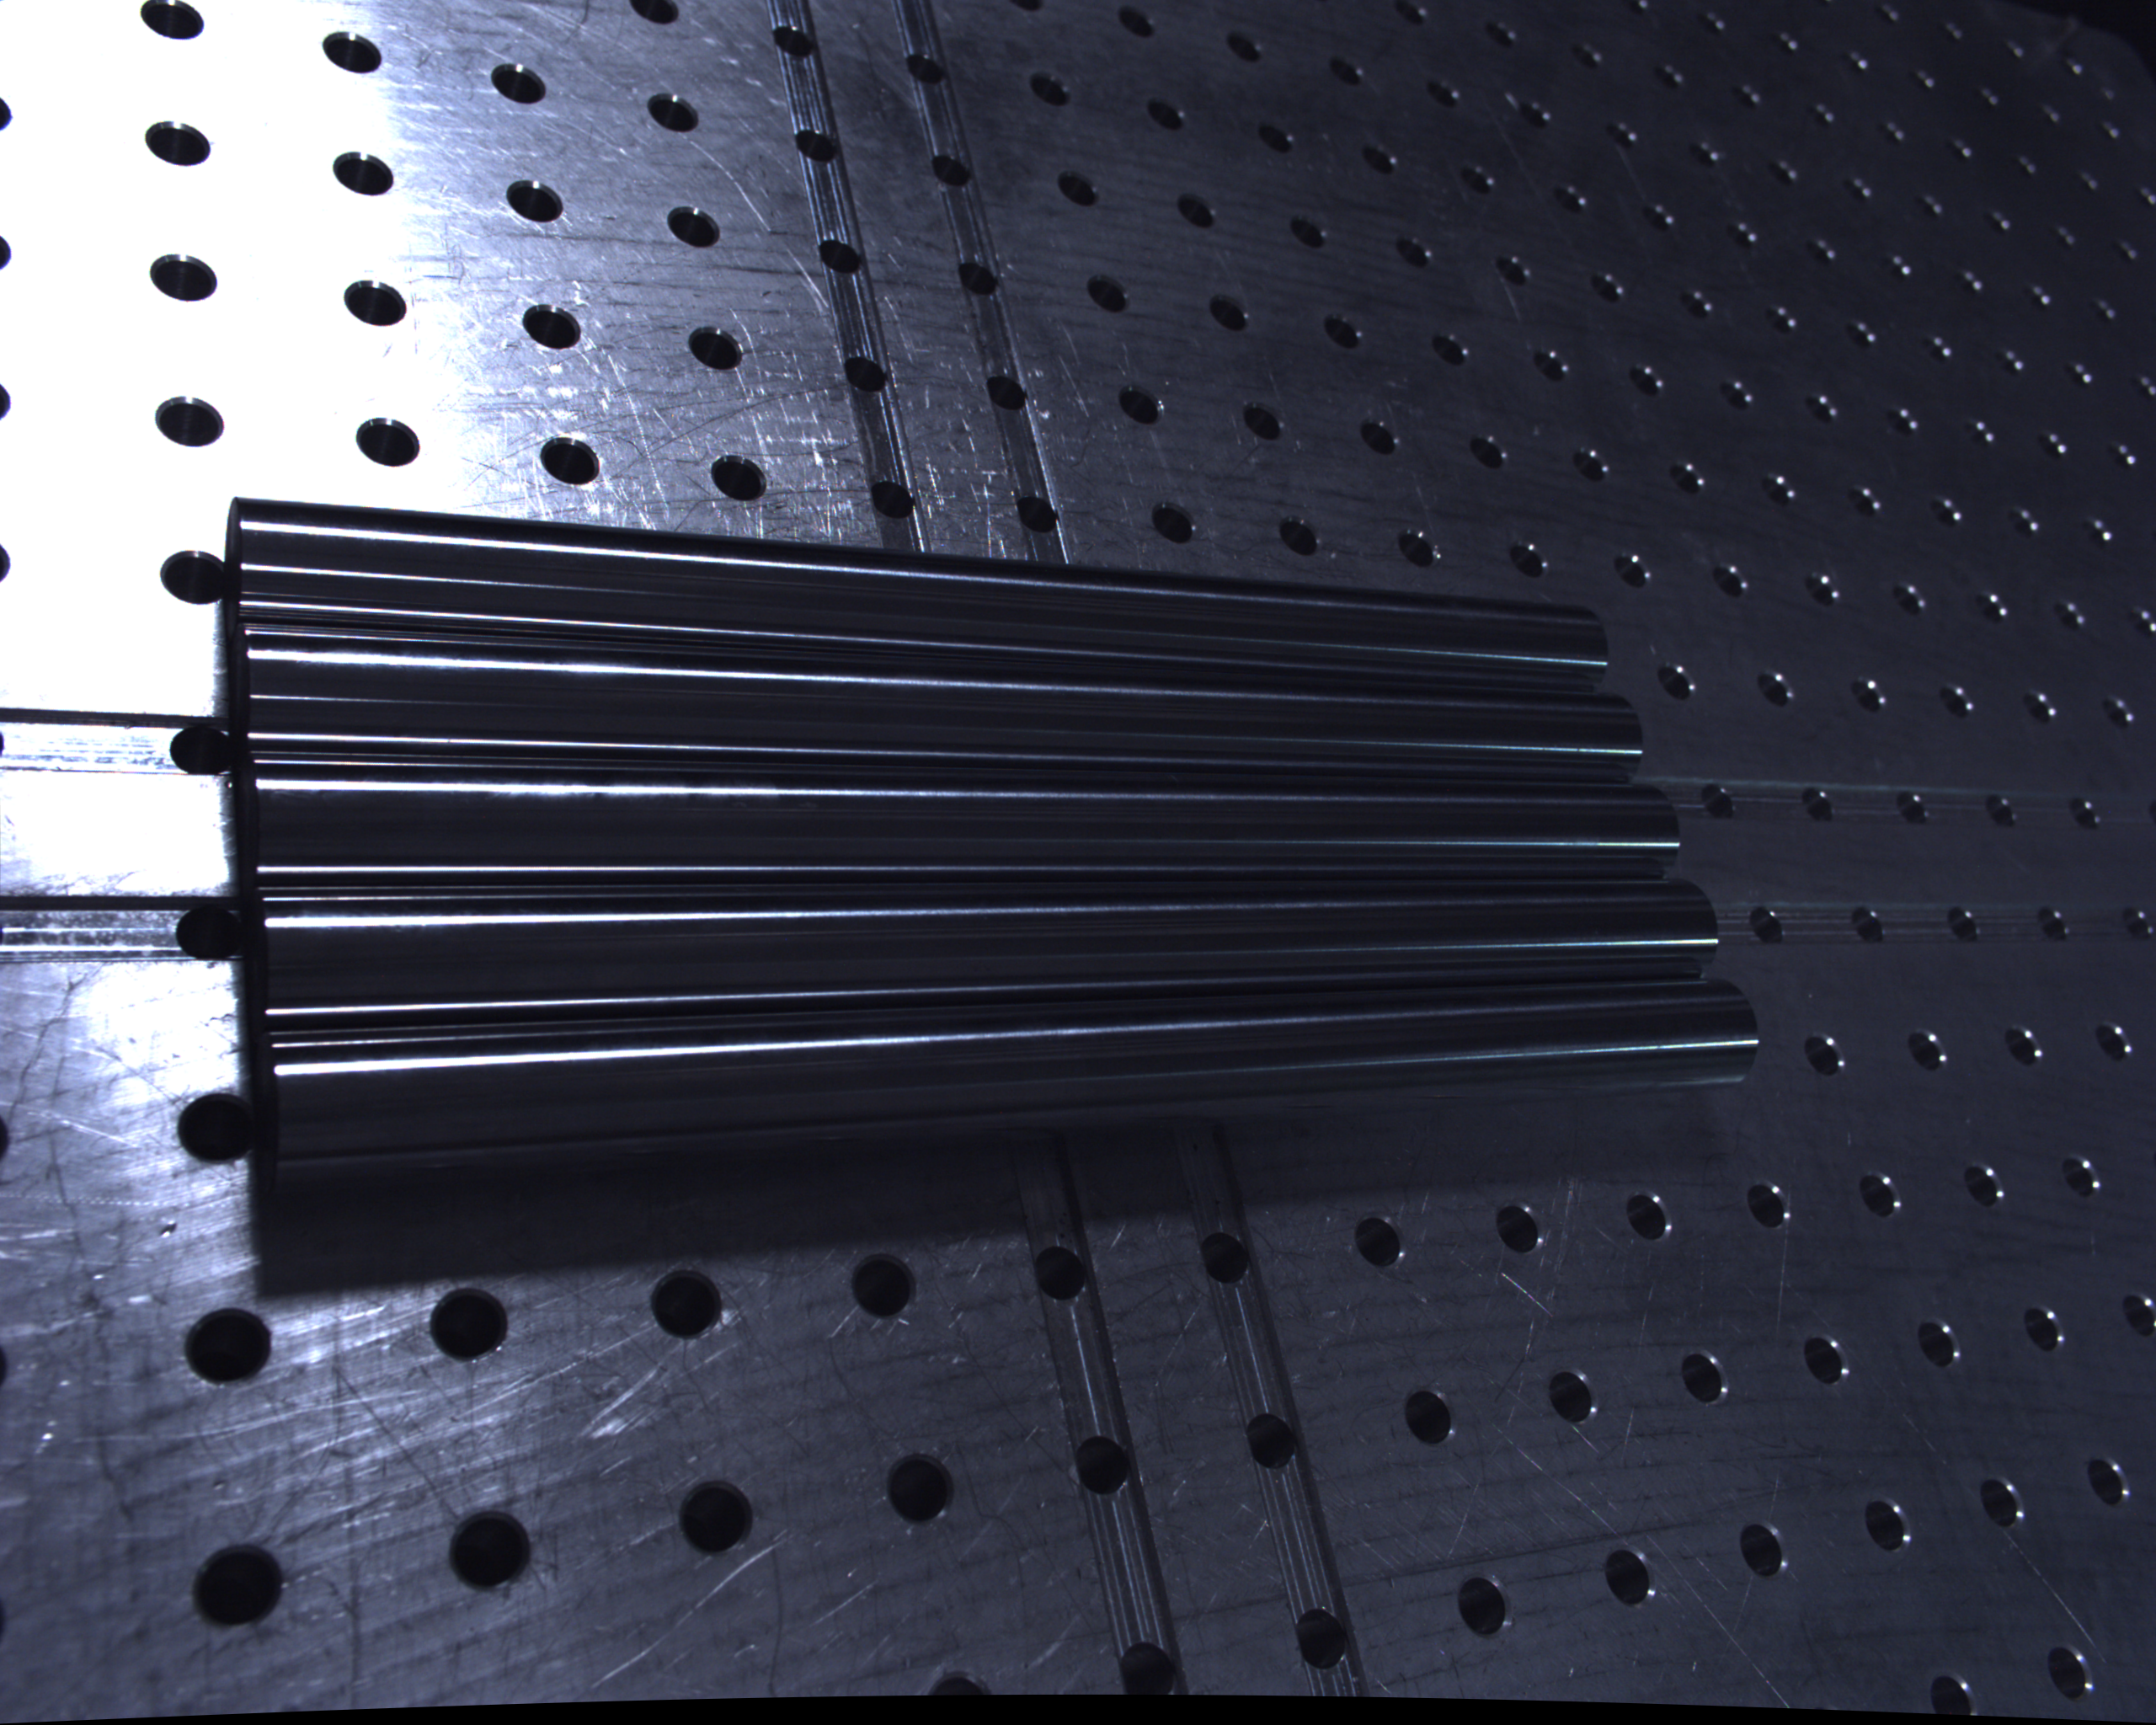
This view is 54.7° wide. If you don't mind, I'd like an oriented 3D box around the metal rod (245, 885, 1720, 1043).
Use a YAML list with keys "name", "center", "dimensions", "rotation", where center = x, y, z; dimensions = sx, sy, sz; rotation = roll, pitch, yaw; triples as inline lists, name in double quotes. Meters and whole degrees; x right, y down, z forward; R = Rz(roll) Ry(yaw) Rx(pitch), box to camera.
- name: "metal rod"
  center: [0.003, 0.017, 0.401]
  dimensions: [0.303, 0.025, 0.025]
  rotation: [0, 62, -28]

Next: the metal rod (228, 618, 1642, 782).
- name: "metal rod"
  center: [-0.008, -0.028, 0.422]
  dimensions: [0.303, 0.025, 0.025]
  rotation: [0, 62, -28]

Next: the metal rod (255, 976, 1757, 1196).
- name: "metal rod"
  center: [0.009, 0.038, 0.391]
  dimensions: [0.303, 0.025, 0.025]
  rotation: [0, 62, -29]

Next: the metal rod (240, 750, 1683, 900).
- name: "metal rod"
  center: [-0.002, -0.005, 0.411]
  dimensions: [0.303, 0.025, 0.025]
  rotation: [0, 62, -28]

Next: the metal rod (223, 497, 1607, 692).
- name: "metal rod"
  center: [-0.014, -0.050, 0.433]
  dimensions: [0.303, 0.025, 0.025]
  rotation: [0, 62, -28]
